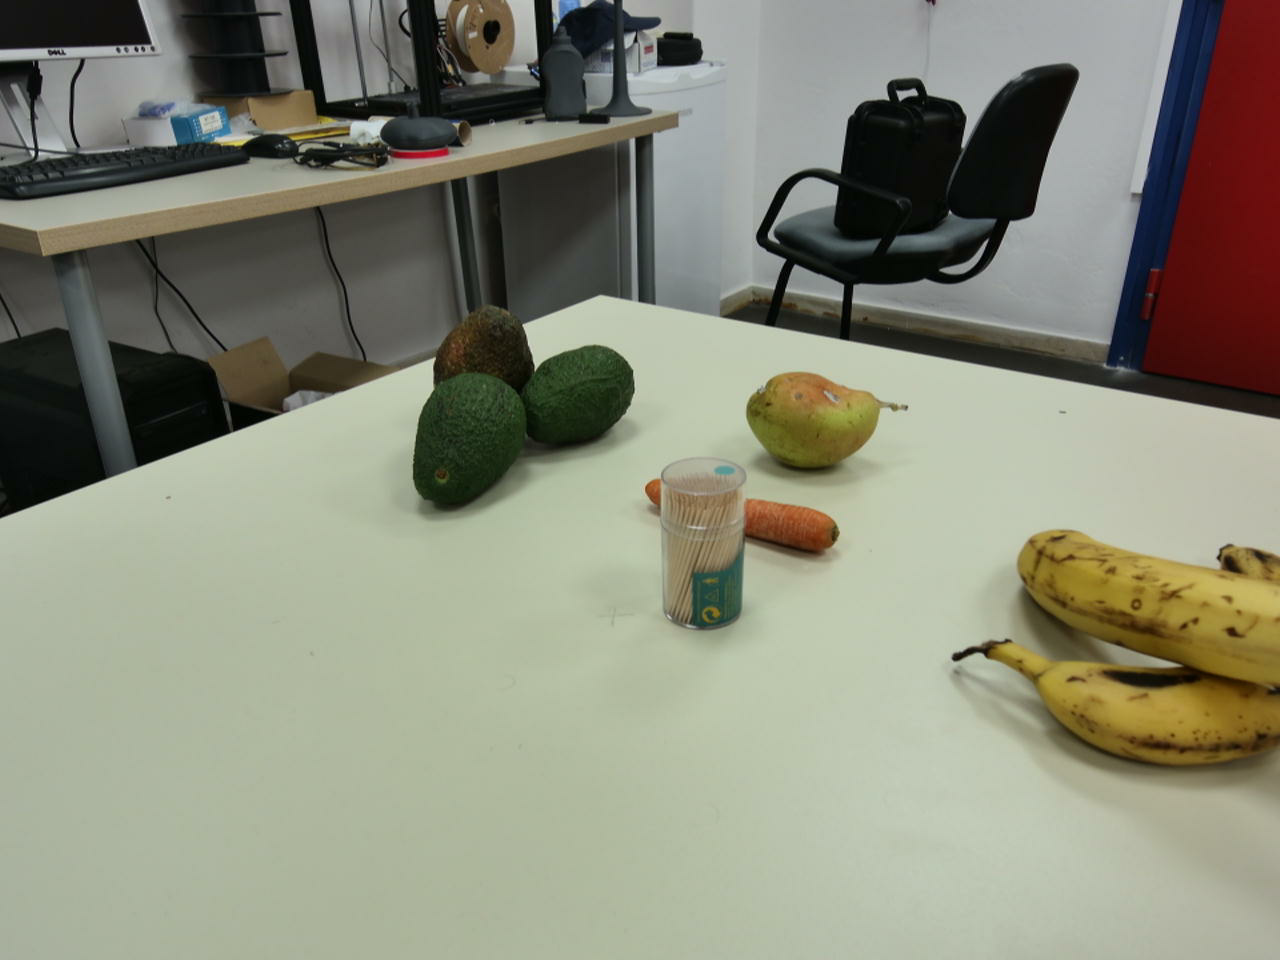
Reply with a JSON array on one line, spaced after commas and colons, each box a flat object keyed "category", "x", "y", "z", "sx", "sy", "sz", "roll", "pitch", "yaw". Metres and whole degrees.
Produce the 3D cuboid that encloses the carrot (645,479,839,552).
[{"category": "carrot", "x": 0.055, "y": 0.018, "z": 0.571, "sx": 0.122, "sy": 0.023, "sz": 0.024, "roll": 15, "pitch": 28, "yaw": 30}]
